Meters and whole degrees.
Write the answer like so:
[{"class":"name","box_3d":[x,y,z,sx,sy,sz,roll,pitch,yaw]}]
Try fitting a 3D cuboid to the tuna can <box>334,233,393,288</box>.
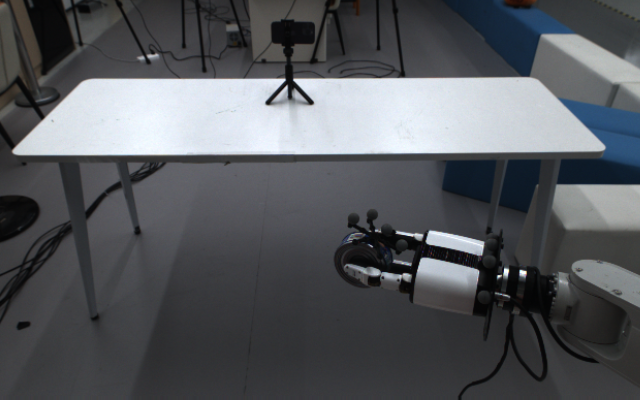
[{"class":"tuna can","box_3d":[0.069,0.098,0.736,0.085,0.085,0.034,15,31,18]}]
